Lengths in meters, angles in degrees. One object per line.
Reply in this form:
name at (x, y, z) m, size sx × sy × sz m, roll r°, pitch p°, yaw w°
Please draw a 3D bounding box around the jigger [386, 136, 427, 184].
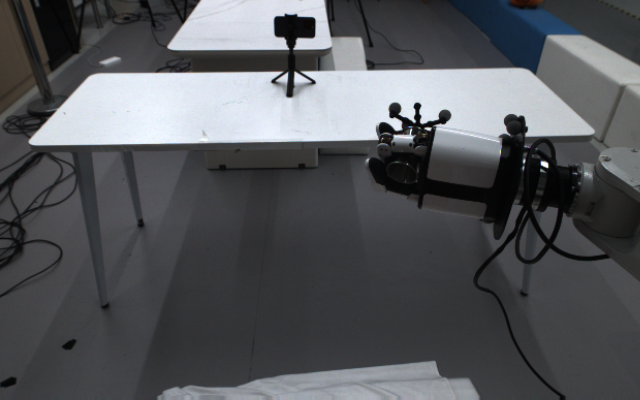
jigger at (0.122, -0.062, 0.653) m, size 0.043 × 0.043 × 0.071 m, roll 13°, pitch 58°, yaw 15°
